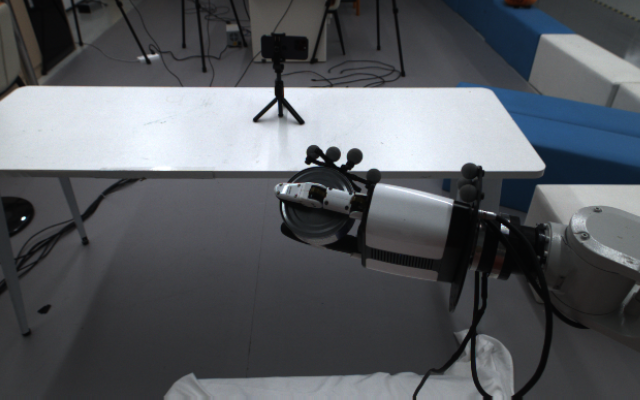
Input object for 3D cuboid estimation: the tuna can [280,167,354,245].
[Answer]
[{"bbox_3d":[0.001,0.005,0.551,0.085,0.034,0.085,-4,67,10],"label":"tuna can"}]
